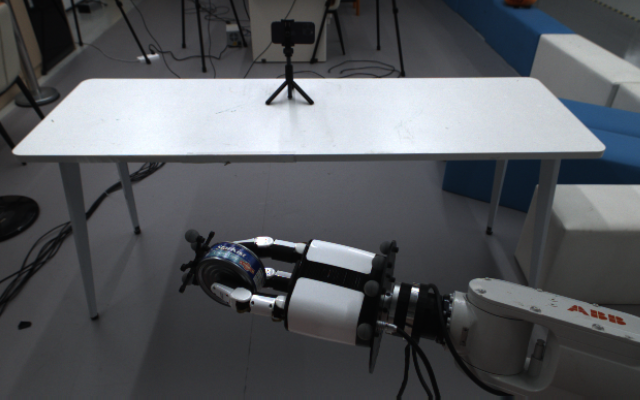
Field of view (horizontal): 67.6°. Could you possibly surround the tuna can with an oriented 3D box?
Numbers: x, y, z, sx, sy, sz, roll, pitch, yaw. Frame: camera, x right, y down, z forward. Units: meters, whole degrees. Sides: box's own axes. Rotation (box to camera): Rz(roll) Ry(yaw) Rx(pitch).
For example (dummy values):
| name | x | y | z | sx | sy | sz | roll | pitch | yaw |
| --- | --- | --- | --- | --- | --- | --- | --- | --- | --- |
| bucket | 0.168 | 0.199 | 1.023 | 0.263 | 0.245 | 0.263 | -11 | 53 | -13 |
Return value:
| name | x | y | z | sx | sy | sz | roll | pitch | yaw |
| --- | --- | --- | --- | --- | --- | --- | --- | --- | --- |
| tuna can | -0.110 | 0.101 | 0.616 | 0.085 | 0.085 | 0.034 | 11 | 35 | 13 |
